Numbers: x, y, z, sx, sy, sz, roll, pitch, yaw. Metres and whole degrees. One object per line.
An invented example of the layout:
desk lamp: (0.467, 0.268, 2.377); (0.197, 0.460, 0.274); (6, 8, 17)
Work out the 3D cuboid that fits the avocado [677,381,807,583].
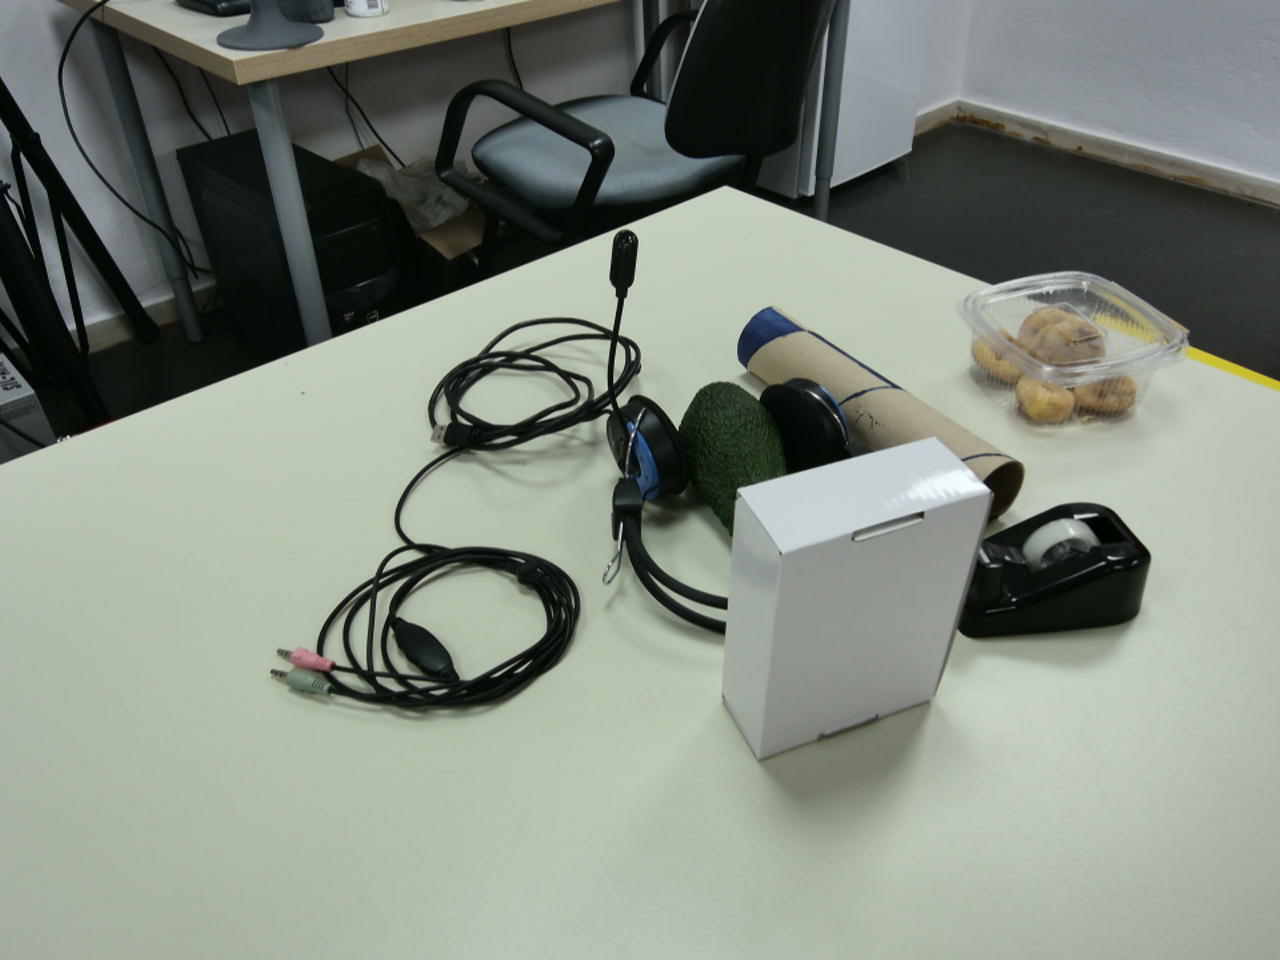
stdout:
avocado: (0.067, -0.006, 0.585); (0.063, 0.067, 0.141); (-17, 39, -20)
